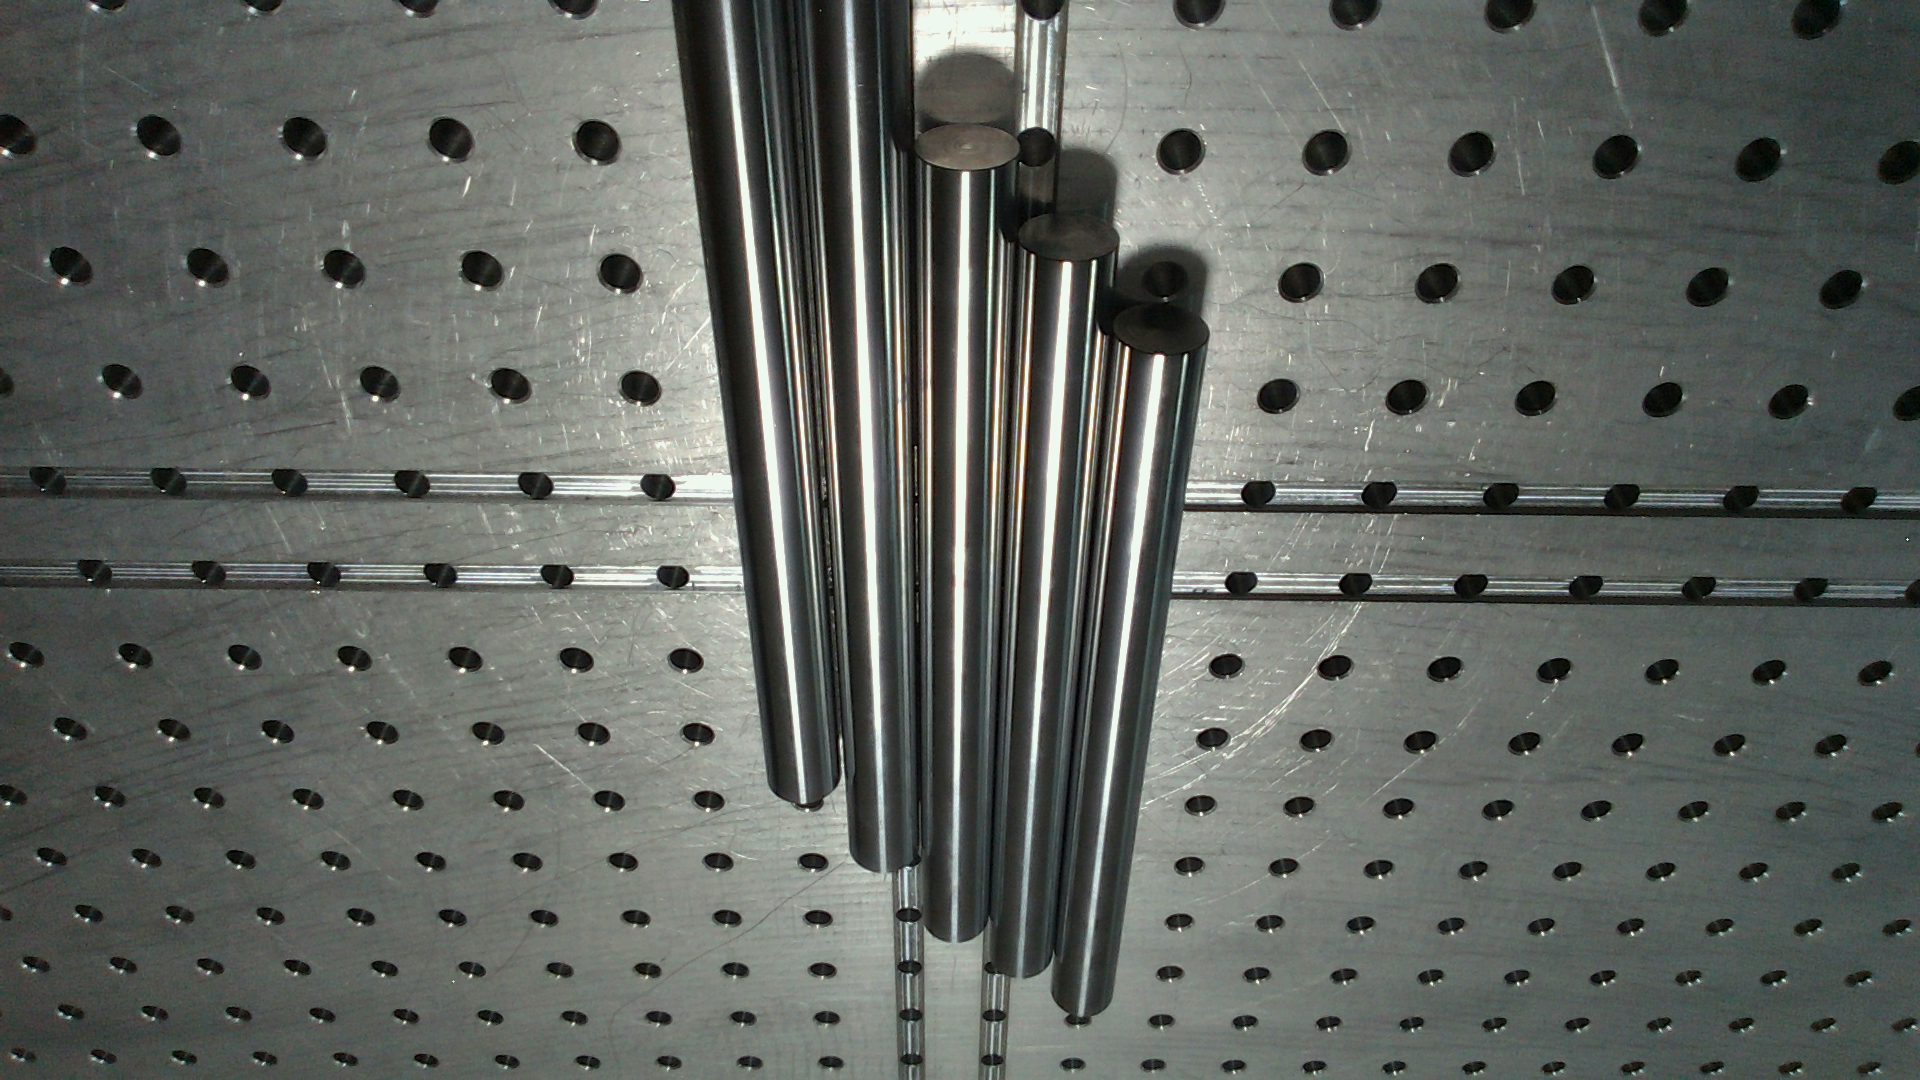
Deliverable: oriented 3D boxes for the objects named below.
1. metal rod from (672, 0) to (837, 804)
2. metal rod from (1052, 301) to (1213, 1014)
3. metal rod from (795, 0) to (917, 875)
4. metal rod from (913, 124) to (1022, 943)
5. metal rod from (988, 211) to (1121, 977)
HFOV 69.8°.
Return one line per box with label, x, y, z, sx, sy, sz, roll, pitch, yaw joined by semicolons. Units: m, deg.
metal rod;-0.050;-0.036;0.362;0.025;0.025;0.300;1;130;0
metal rod;0.049;0.061;0.444;0.025;0.025;0.300;1;130;-1
metal rod;-0.025;-0.007;0.386;0.025;0.025;0.300;1;130;-1
metal rod;0.000;0.024;0.413;0.025;0.025;0.300;1;130;-1
metal rod;0.024;0.041;0.428;0.025;0.025;0.300;1;130;-1
